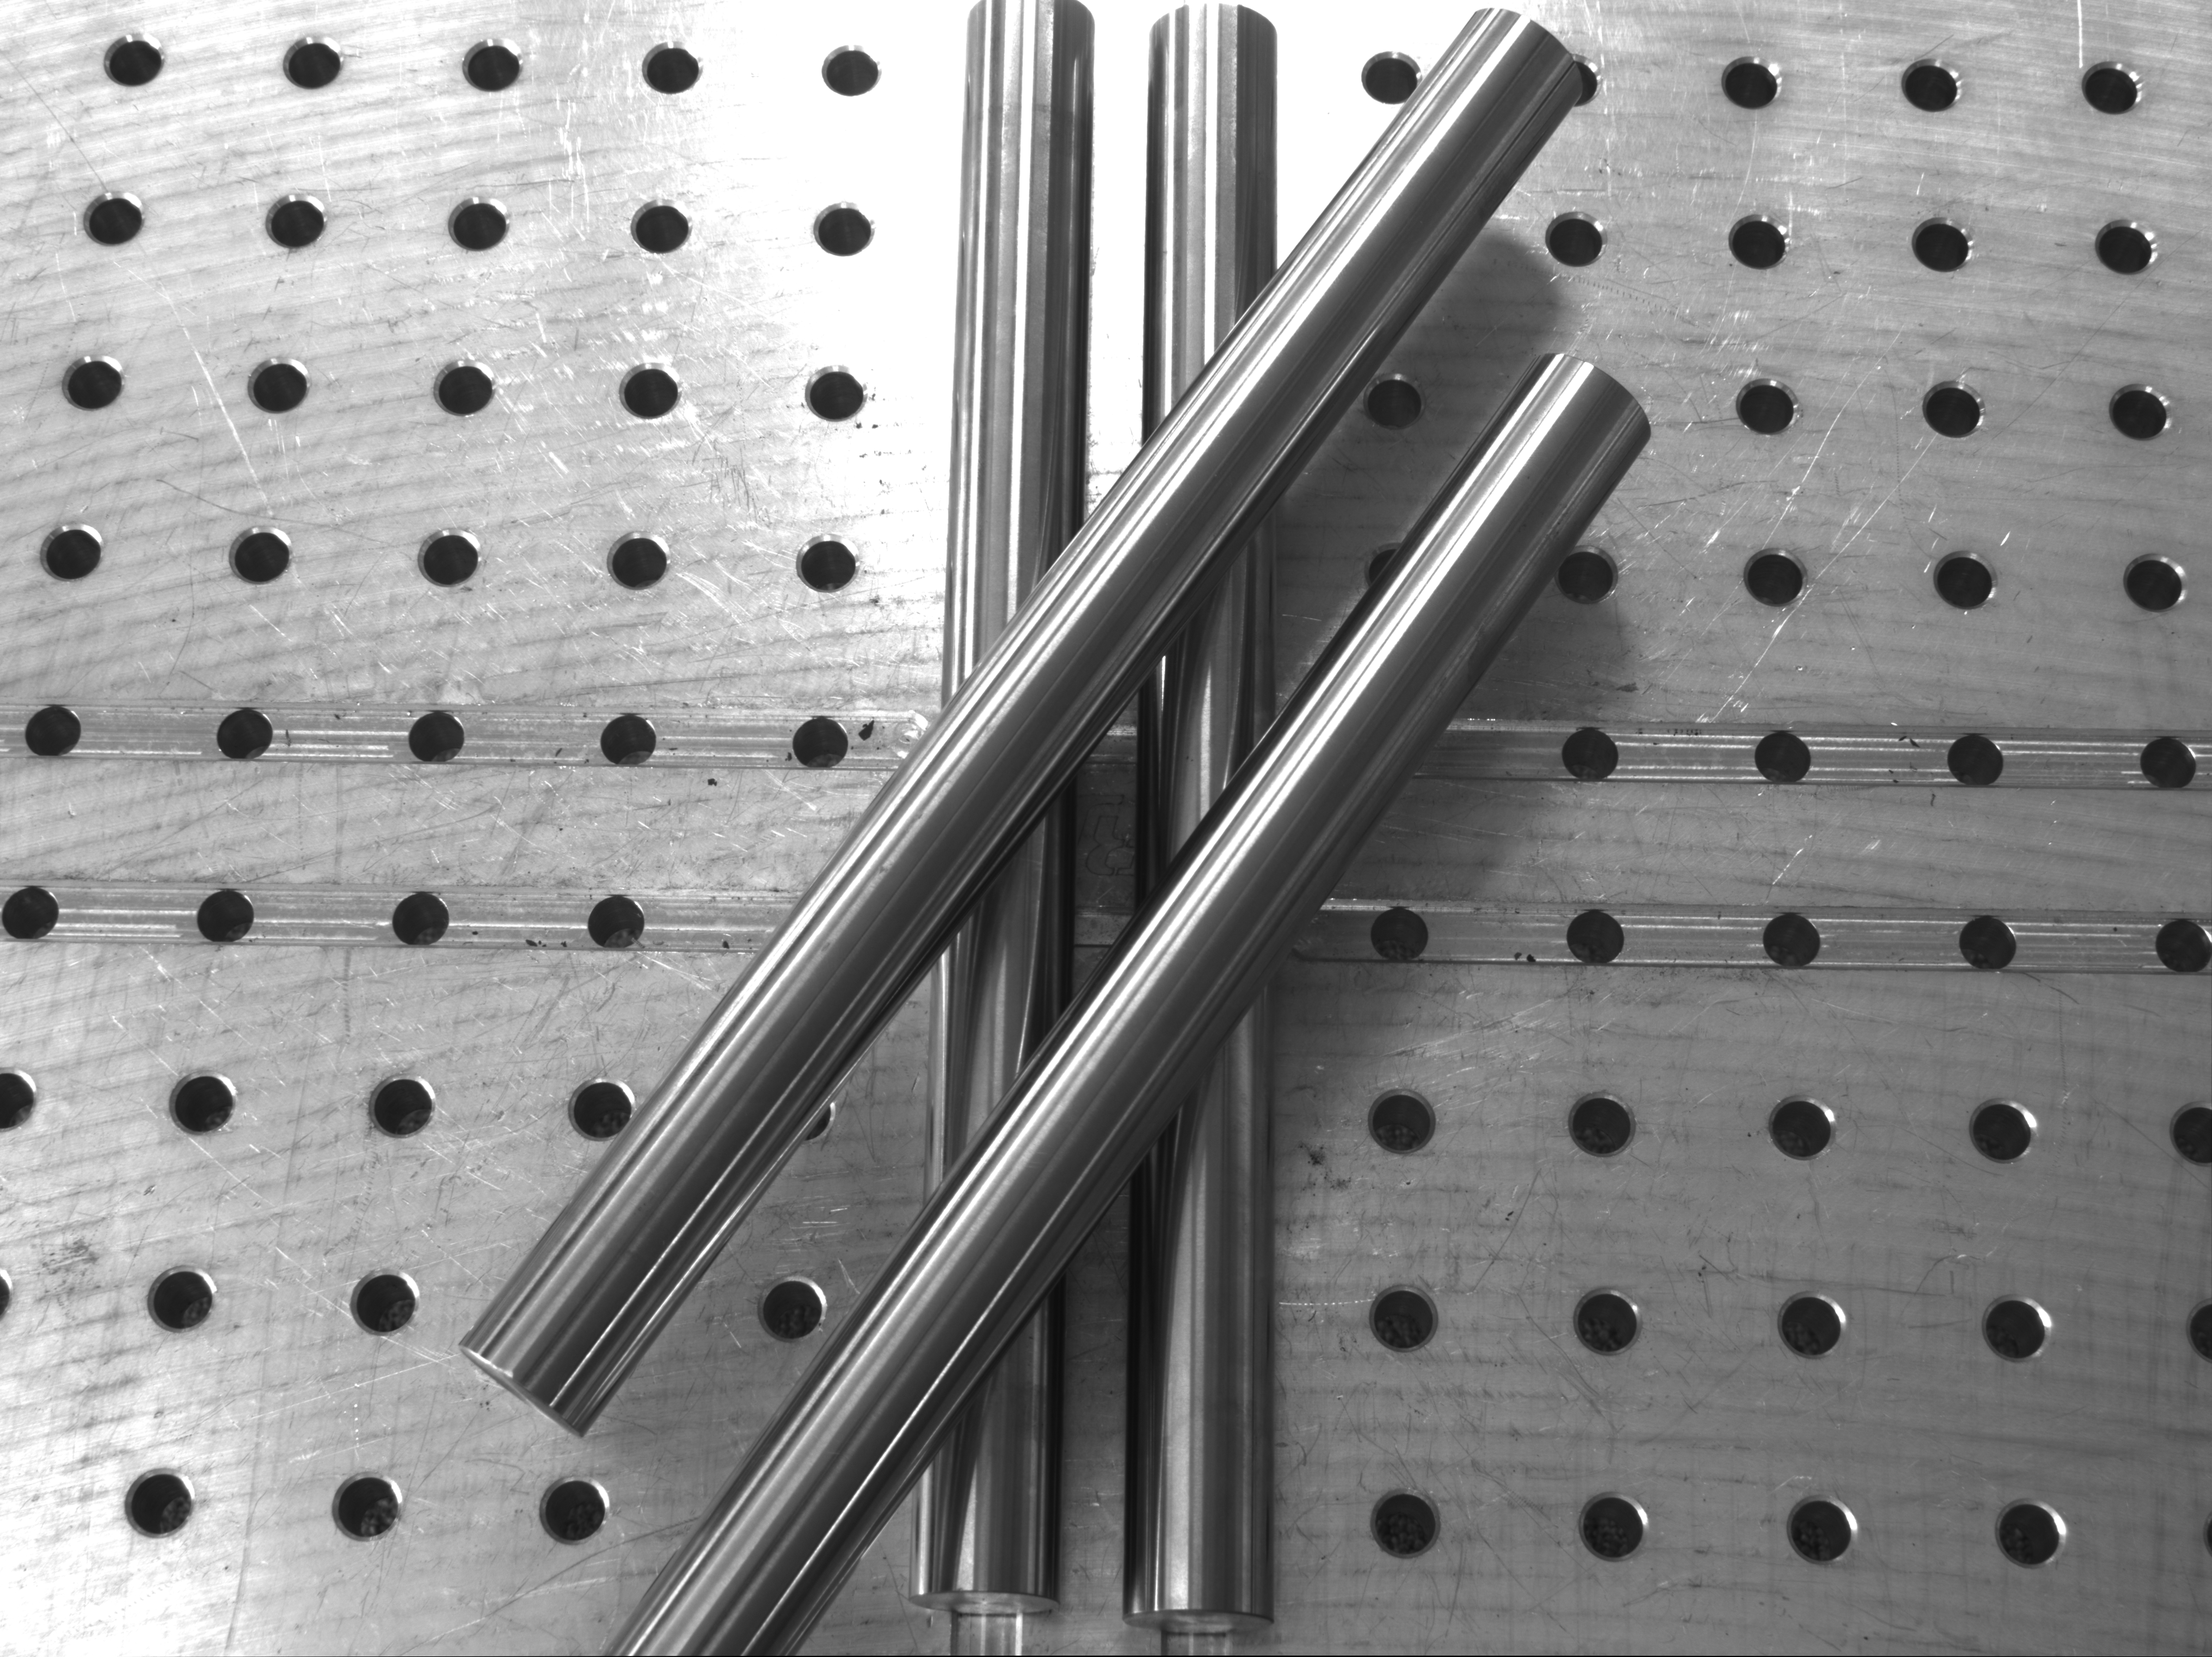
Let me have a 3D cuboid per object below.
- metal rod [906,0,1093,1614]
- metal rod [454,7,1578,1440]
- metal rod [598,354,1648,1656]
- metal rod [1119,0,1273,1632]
[{"bbox_3d":[-0.018,-0.014,0.654,0.025,0.025,0.300,1,70,1],"label":"metal rod"},{"bbox_3d":[-0.009,-0.025,0.631,0.025,0.025,0.300,33,73,11],"label":"metal rod"},{"bbox_3d":[0.000,0.041,0.606,0.025,0.025,0.300,33,73,11],"label":"metal rod"},{"bbox_3d":[0.017,-0.011,0.653,0.025,0.025,0.300,1,70,1],"label":"metal rod"}]
